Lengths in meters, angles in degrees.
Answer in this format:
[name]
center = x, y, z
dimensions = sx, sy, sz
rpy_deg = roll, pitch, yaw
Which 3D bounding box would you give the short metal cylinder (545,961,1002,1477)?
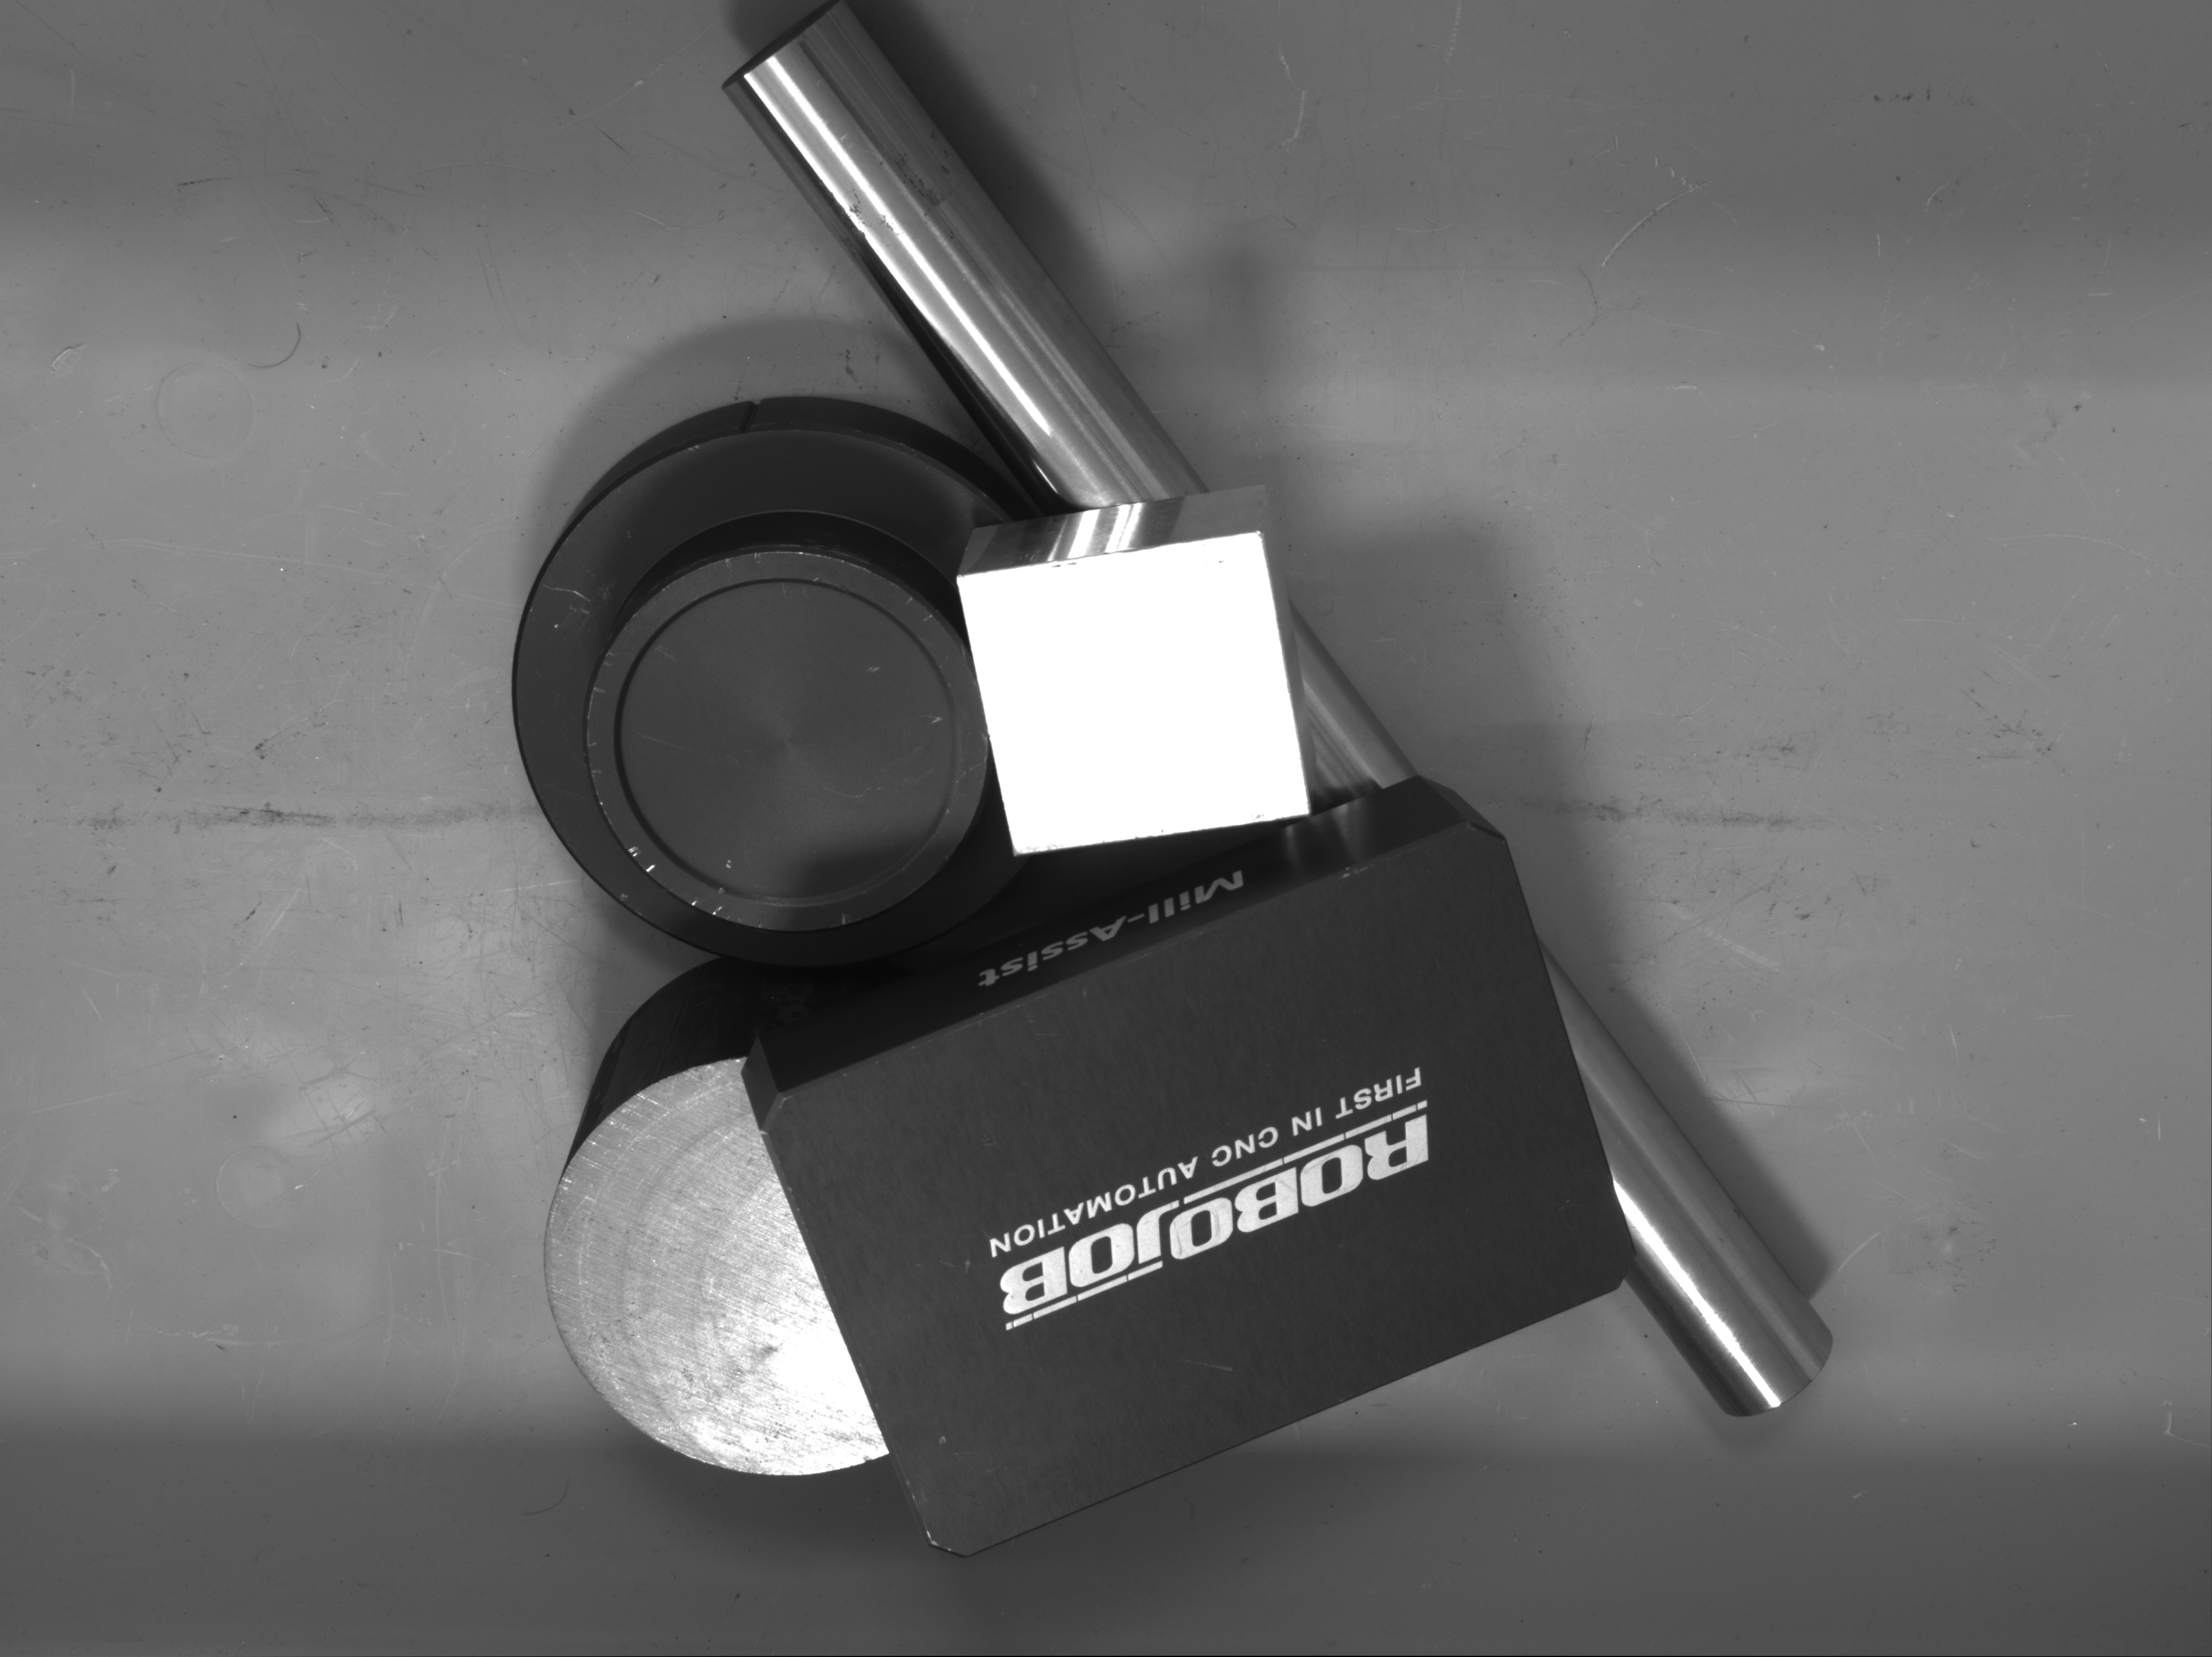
[short metal cylinder]
center = -0.056, 0.068, 0.654
dimensions = 0.080, 0.050, 0.080
rpy_deg = 0, 110, 0

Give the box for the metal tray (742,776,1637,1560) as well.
[metal tray]
center = 0.015, 0.057, 0.620
dimensions = 0.130, 0.030, 0.090
rpy_deg = -21, 109, -6

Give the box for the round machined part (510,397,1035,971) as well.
[round machined part]
center = -0.053, -0.021, 0.625
dimensions = 0.098, 0.042, 0.098
rpy_deg = 0, 110, 1

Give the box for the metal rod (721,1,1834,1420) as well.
[metal rod]
center = 0.036, -0.013, 0.638
dimensions = 0.025, 0.025, 0.300
rpy_deg = -34, 106, 12

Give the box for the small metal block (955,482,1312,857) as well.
[small metal block]
center = 0.006, -0.026, 0.608
dimensions = 0.050, 0.025, 0.050
rpy_deg = -8, 112, 8
